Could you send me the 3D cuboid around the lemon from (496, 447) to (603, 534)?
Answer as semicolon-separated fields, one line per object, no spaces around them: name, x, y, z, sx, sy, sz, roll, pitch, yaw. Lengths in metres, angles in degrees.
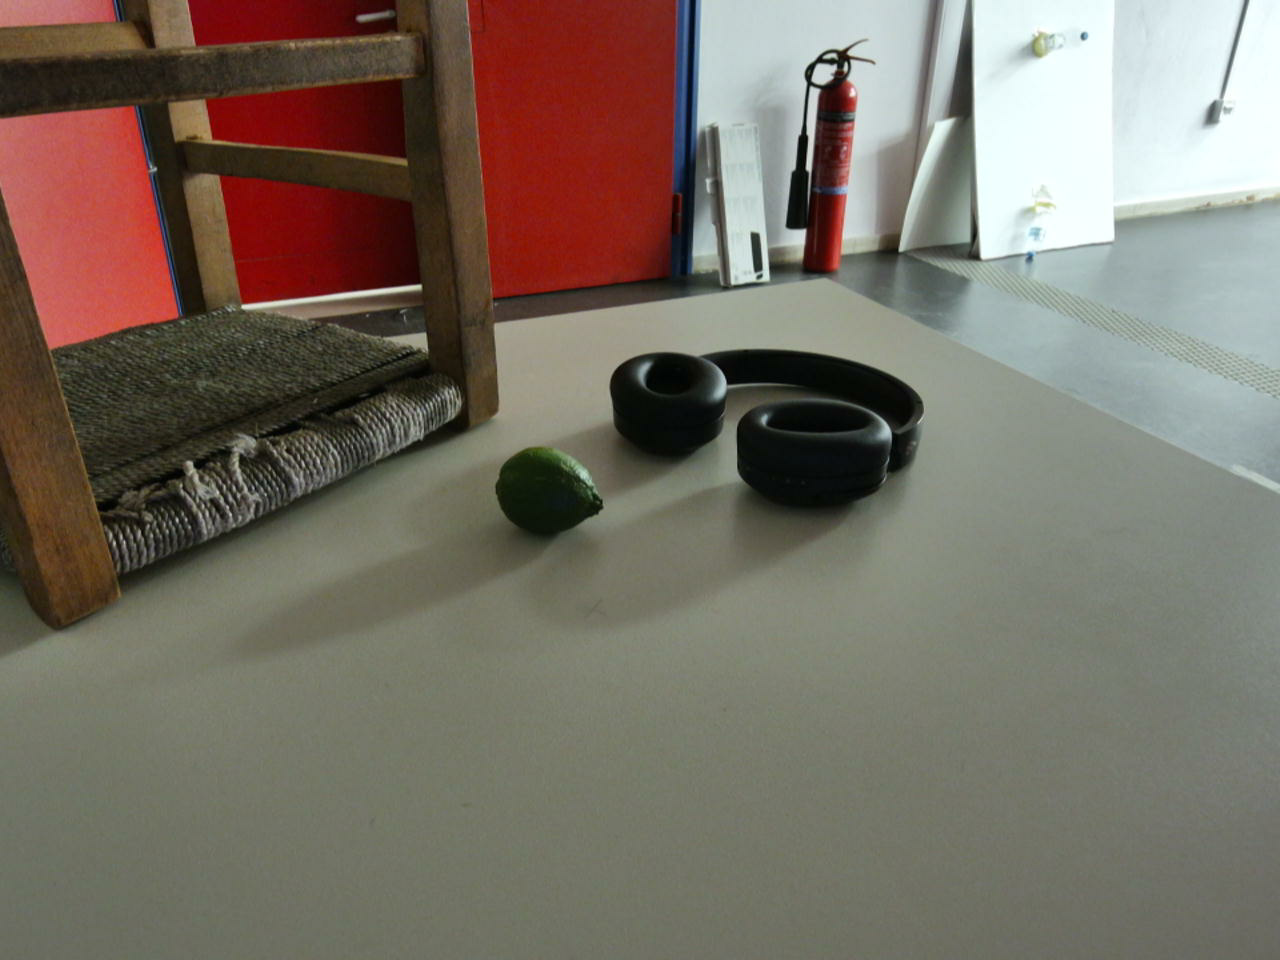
lemon;-0.056;0.006;0.592;0.057;0.051;0.054;-13;29;-25
